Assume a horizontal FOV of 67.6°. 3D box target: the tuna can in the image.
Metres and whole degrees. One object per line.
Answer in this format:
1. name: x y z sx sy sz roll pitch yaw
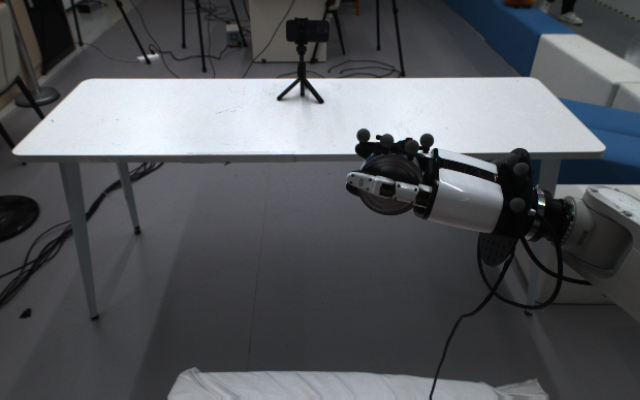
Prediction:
1. tuna can: 0.095 -0.020 0.633 0.085 0.085 0.034 7 22 7
